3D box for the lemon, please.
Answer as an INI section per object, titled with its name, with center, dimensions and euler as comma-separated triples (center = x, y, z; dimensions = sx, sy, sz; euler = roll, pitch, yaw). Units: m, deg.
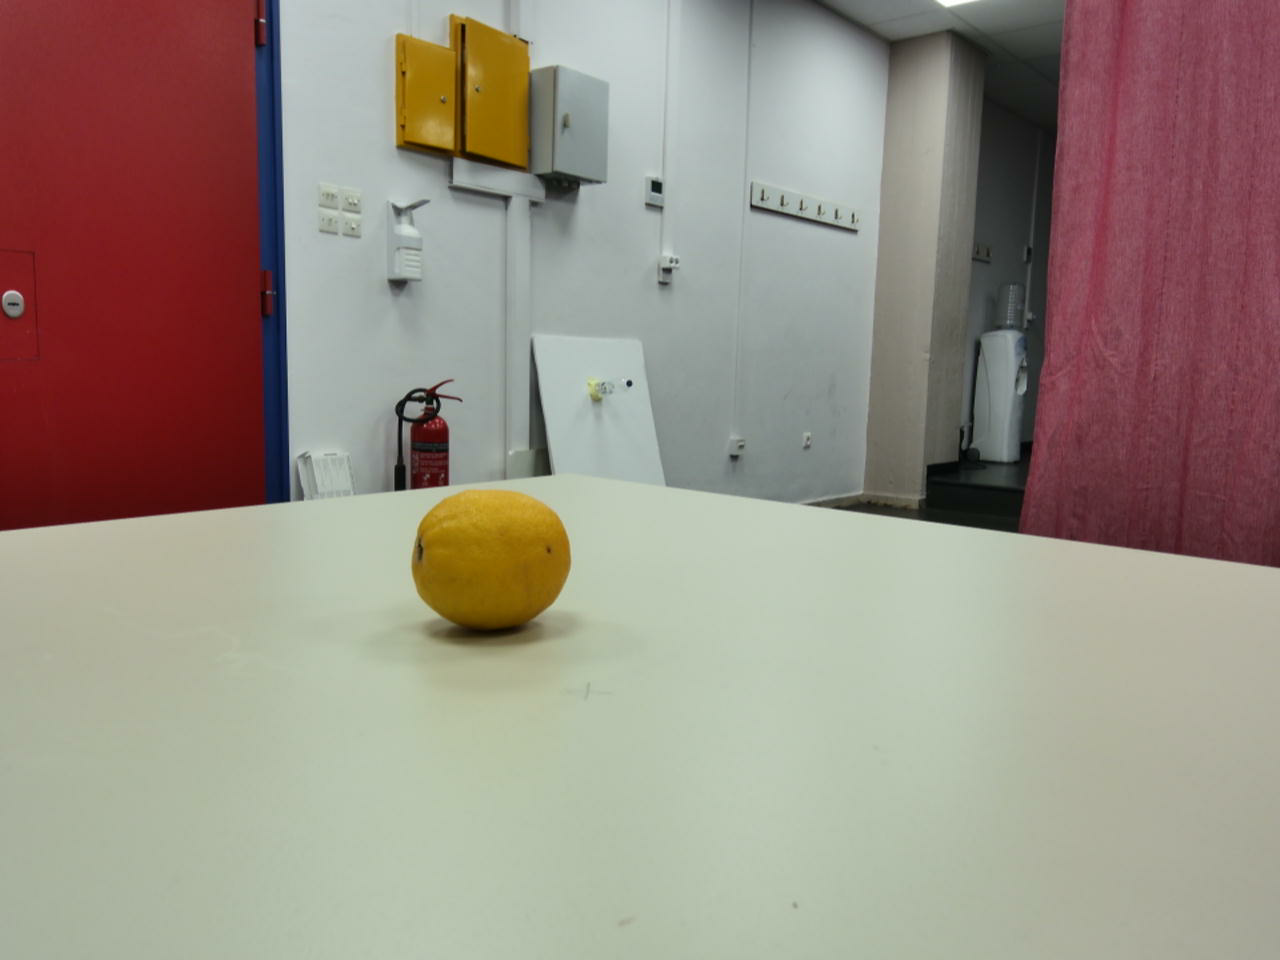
[lemon]
center = -0.063, 0.034, 0.428
dimensions = 0.067, 0.059, 0.061
euler = 0, 5, -8
